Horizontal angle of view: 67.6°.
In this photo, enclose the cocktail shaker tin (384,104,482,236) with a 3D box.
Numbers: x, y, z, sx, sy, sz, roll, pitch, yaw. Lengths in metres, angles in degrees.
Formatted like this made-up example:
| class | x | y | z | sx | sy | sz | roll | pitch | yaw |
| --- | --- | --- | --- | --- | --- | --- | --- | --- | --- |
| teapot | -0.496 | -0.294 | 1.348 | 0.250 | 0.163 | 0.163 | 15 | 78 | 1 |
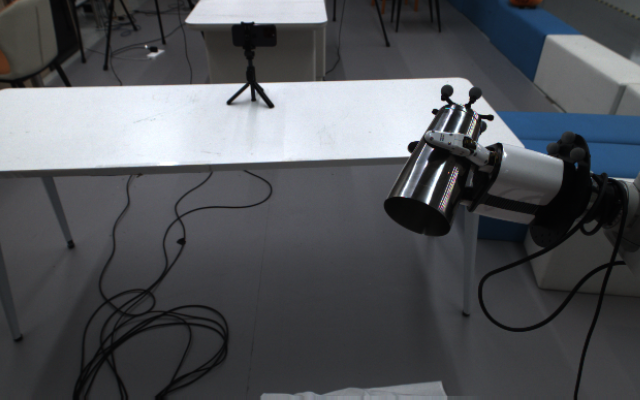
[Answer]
| class | x | y | z | sx | sy | sz | roll | pitch | yaw |
| --- | --- | --- | --- | --- | --- | --- | --- | --- | --- |
| cocktail shaker tin | 0.165 | -0.050 | 0.658 | 0.093 | 0.093 | 0.170 | 18 | 66 | 21 |
